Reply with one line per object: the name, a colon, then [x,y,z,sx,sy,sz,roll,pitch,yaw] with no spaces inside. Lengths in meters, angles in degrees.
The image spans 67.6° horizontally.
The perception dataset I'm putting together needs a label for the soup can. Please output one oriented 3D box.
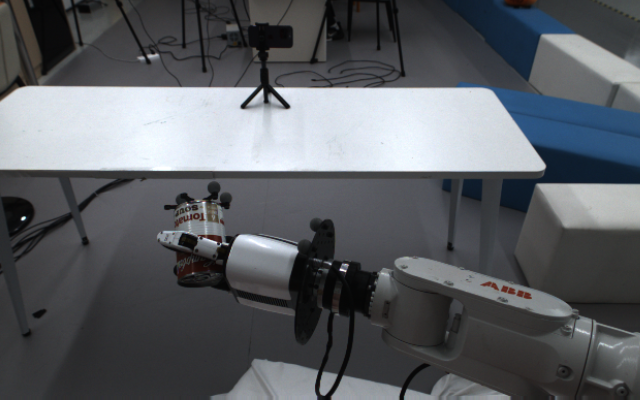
soup can: [-0.157,0.061,0.647,0.067,0.067,0.101,-6,67,-12]
